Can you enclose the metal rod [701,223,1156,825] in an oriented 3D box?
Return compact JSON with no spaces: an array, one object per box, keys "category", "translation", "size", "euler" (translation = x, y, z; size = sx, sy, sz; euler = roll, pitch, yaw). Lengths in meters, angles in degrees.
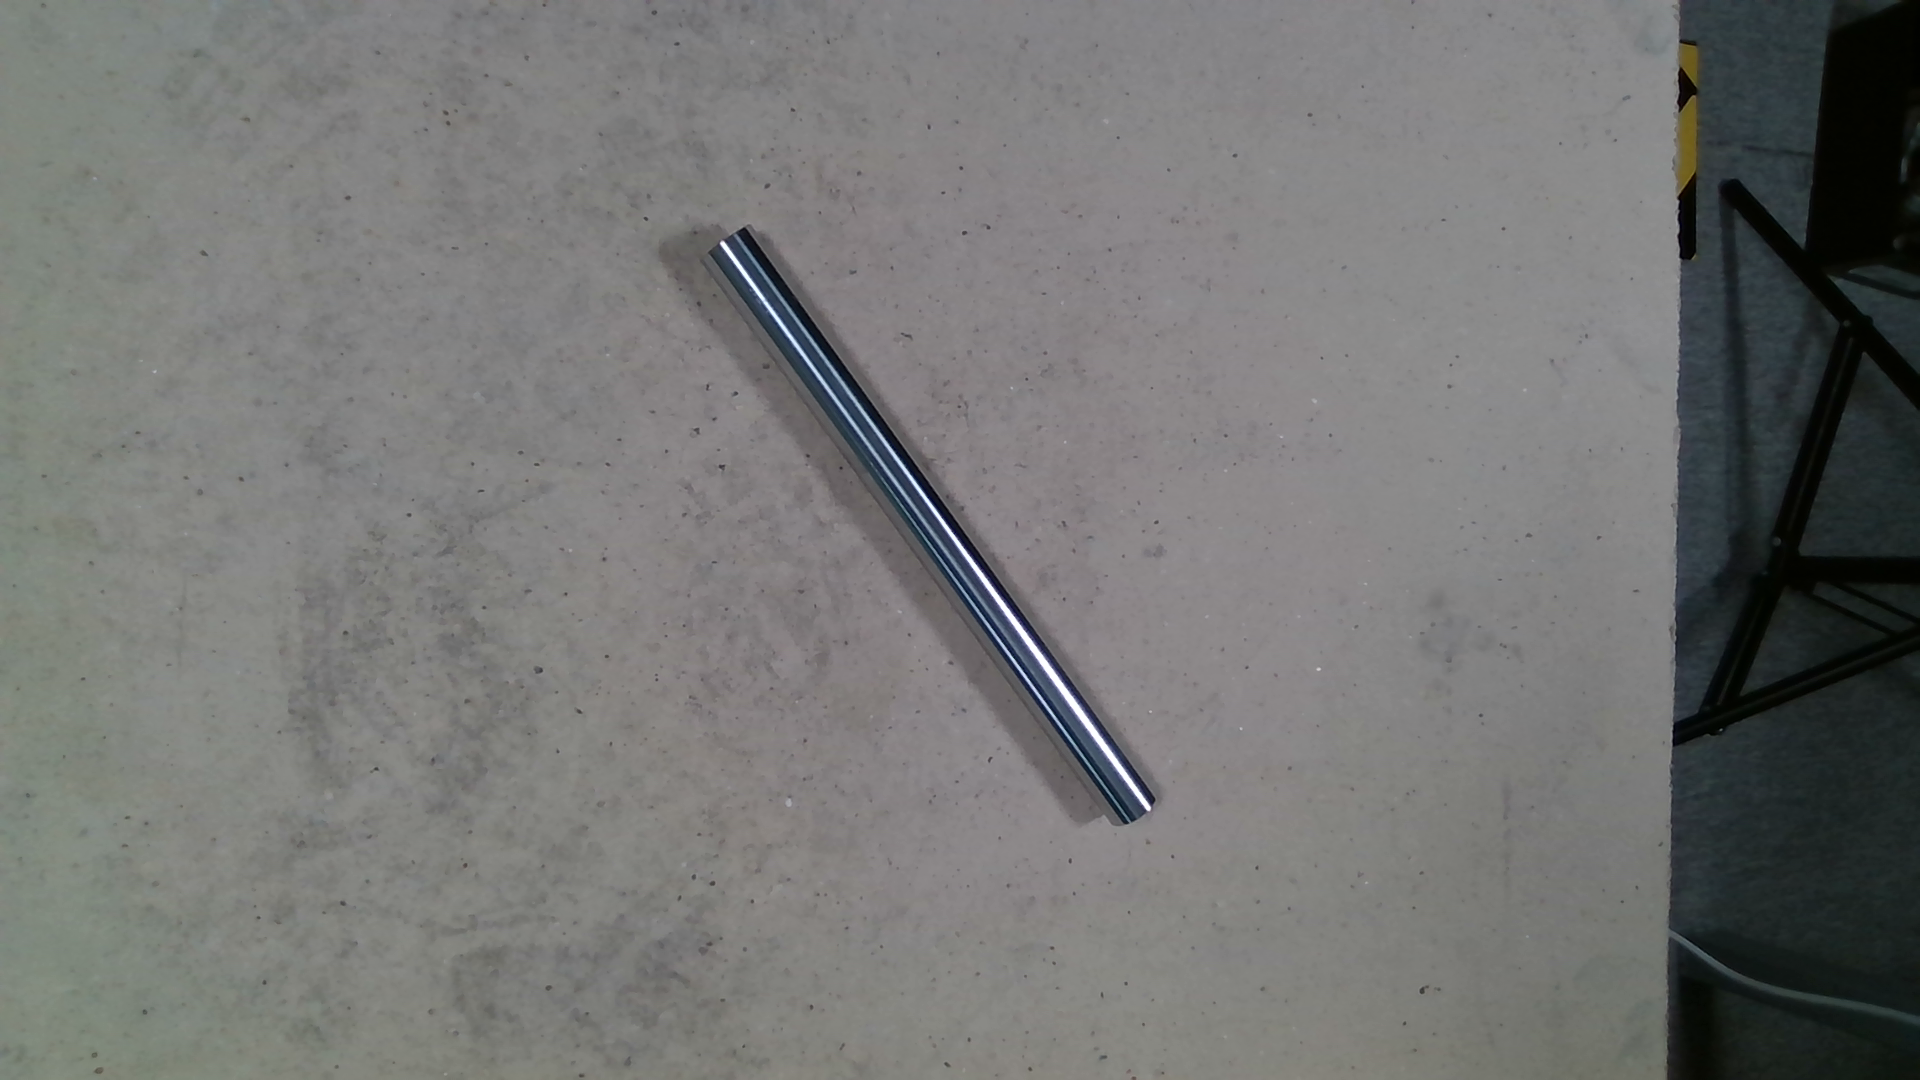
[{"category":"metal rod","translation":[-0.008,0.000,0.583],"size":[0.025,0.025,0.300],"euler":[-39,103,-16]}]
